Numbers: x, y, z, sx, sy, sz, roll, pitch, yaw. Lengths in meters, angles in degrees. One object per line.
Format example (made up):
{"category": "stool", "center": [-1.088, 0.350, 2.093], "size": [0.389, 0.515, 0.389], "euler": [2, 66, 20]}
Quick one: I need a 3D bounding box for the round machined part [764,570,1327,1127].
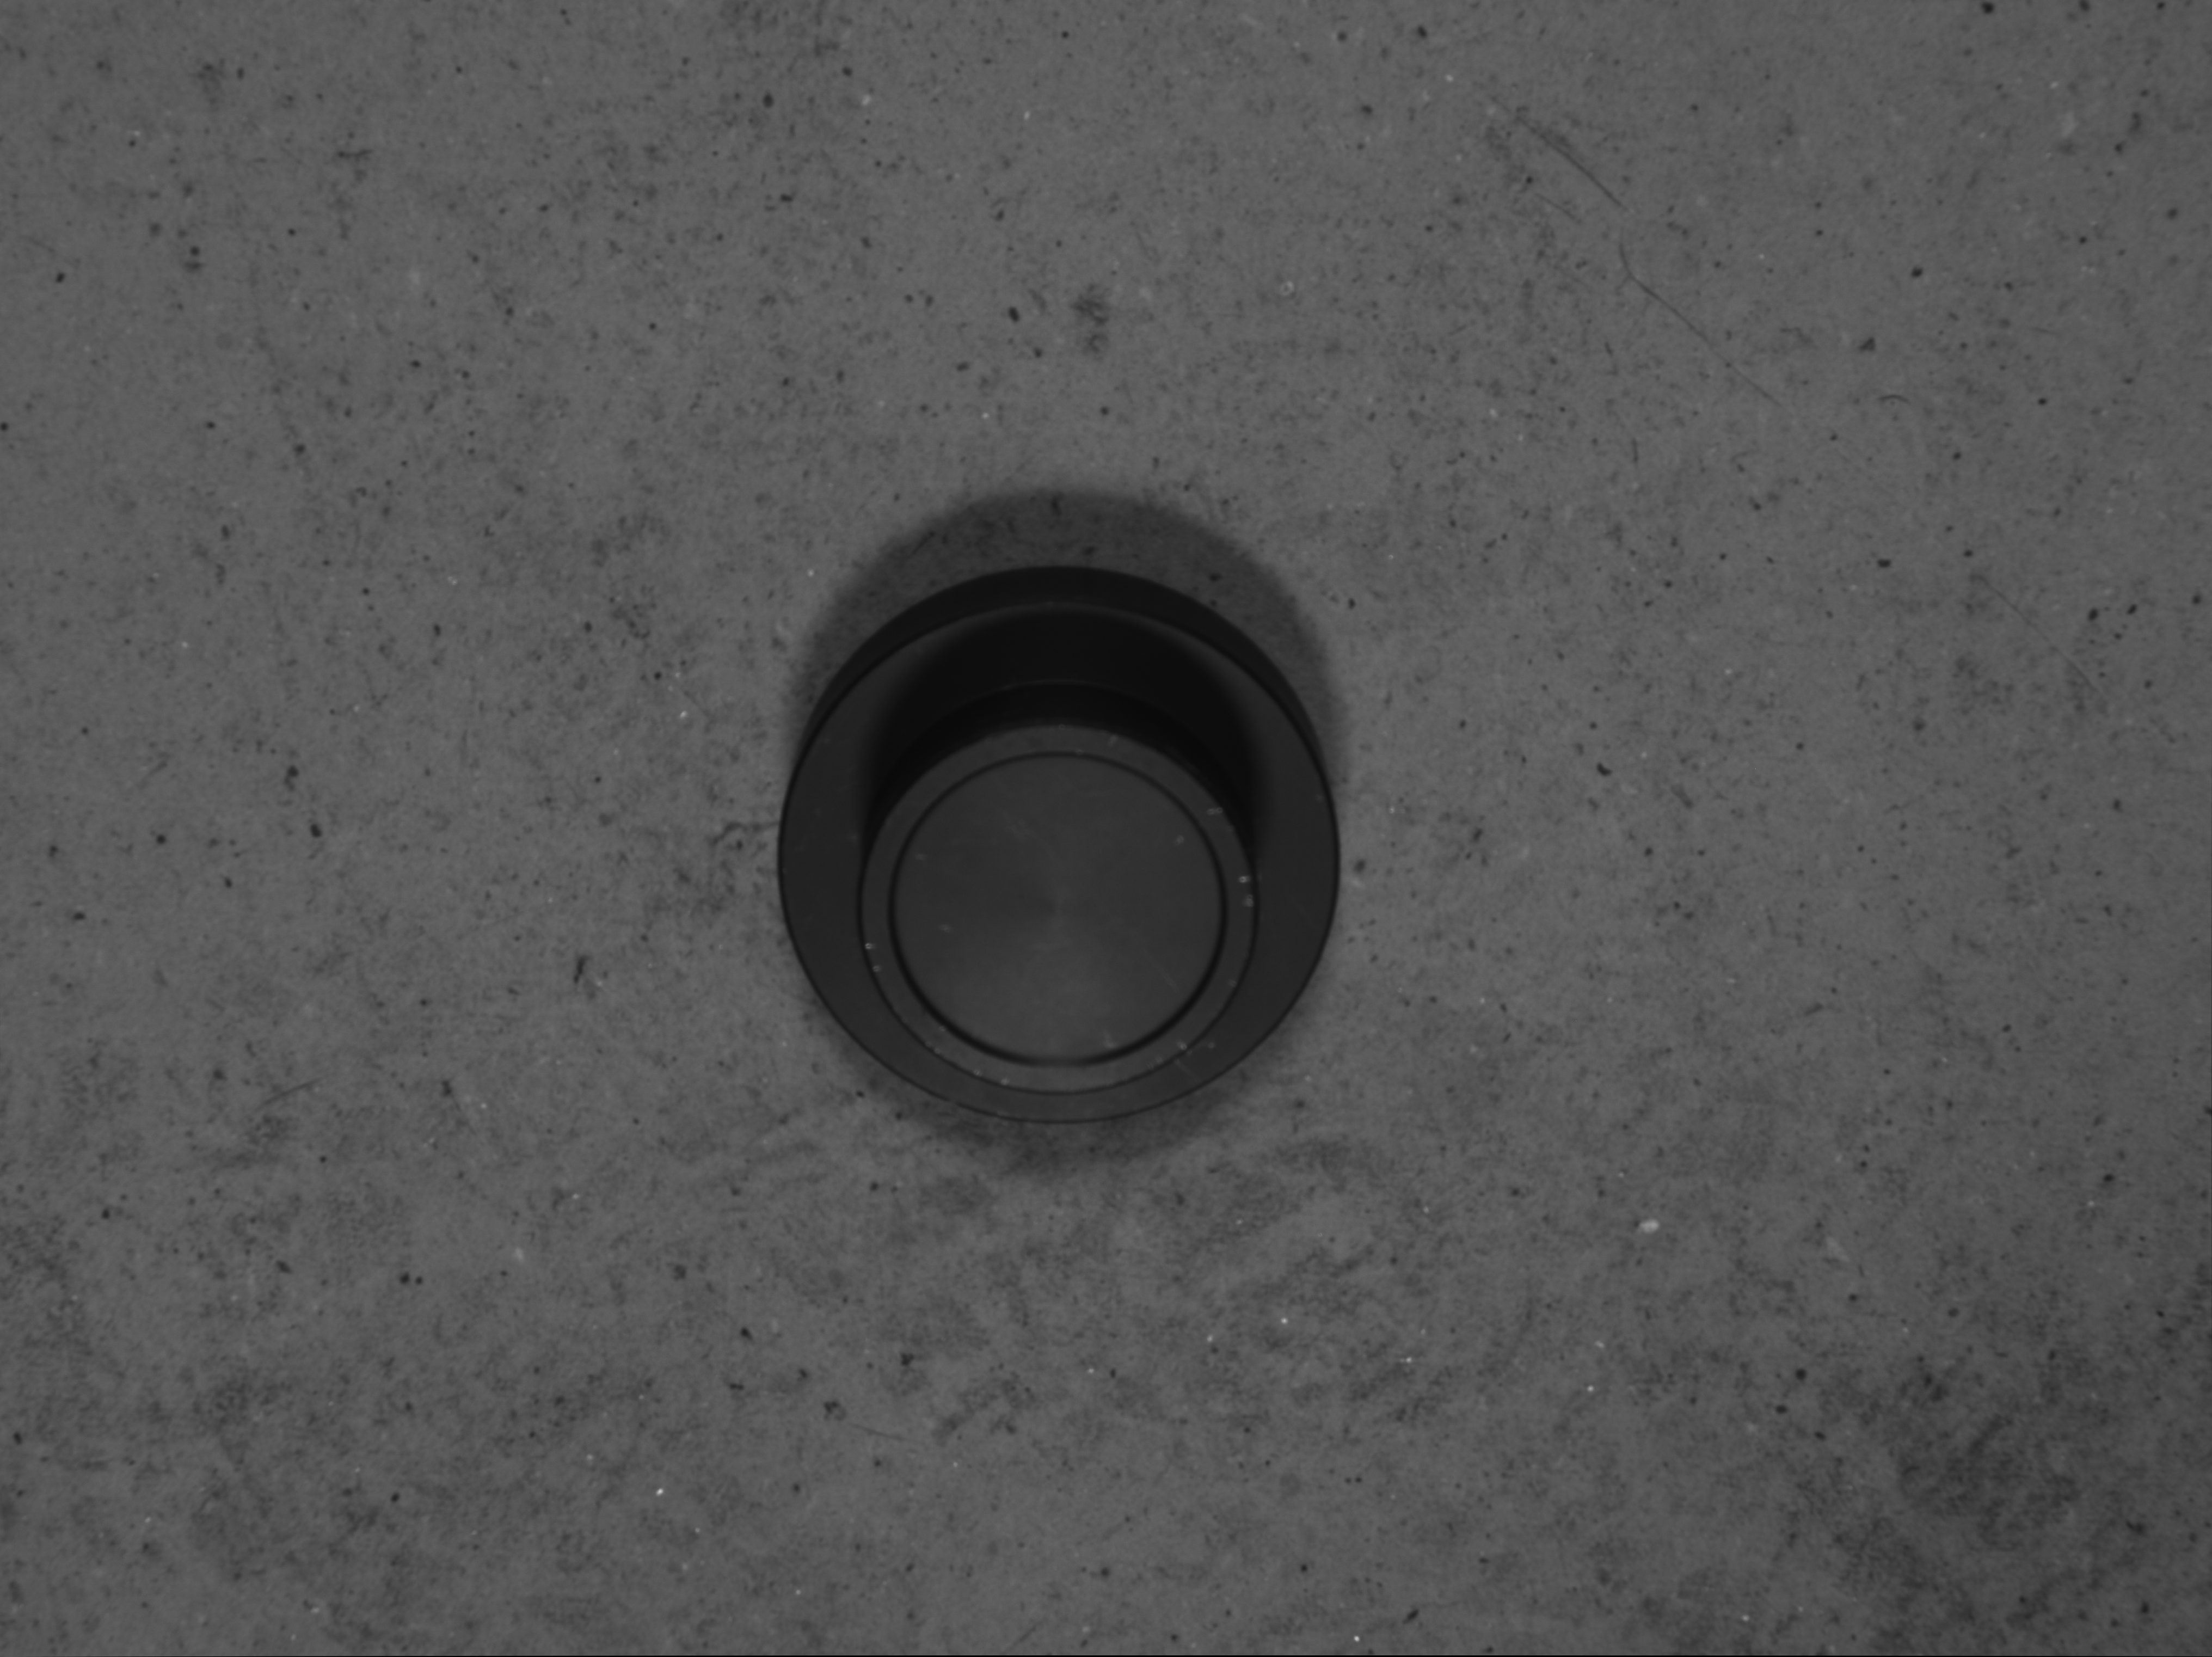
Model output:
{"category": "round machined part", "center": [-0.011, 0.008, 0.636], "size": [0.098, 0.042, 0.098], "euler": [0, 110, -1]}
